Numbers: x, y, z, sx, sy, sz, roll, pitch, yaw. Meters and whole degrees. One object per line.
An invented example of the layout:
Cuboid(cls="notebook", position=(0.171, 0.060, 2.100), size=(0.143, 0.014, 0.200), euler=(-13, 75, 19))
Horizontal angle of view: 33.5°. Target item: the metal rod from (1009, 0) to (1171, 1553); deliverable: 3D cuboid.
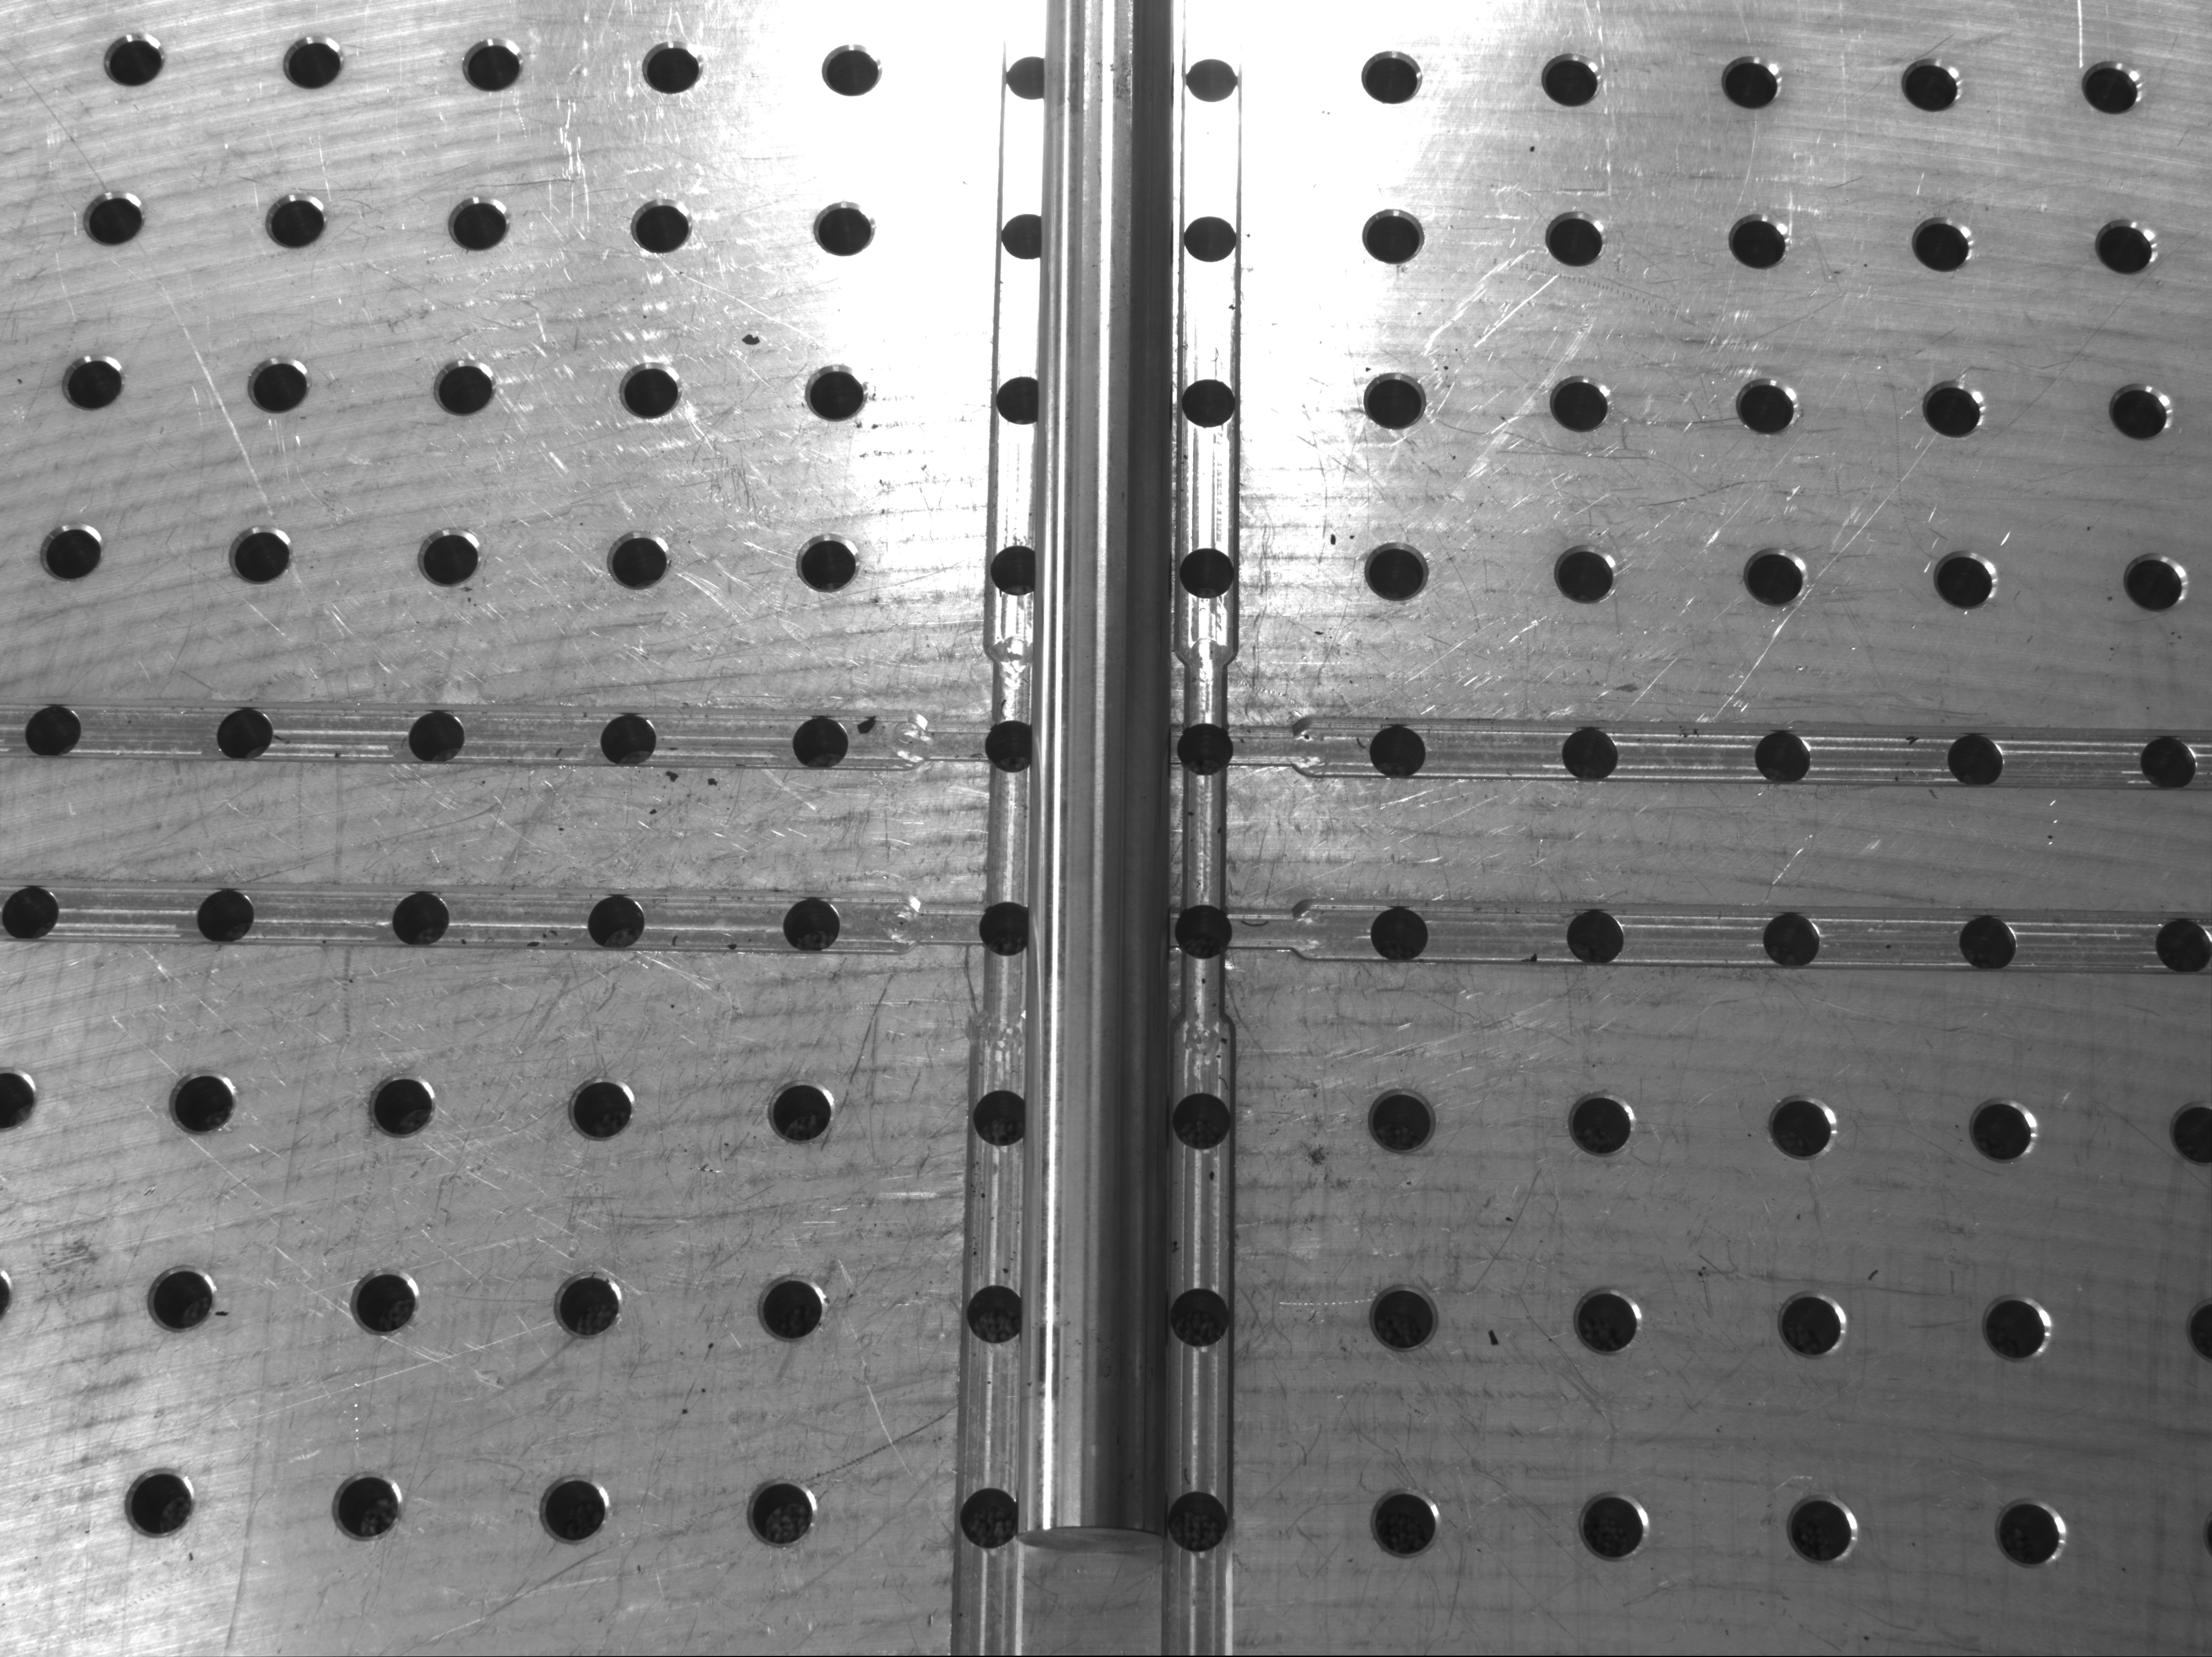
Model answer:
Cuboid(cls="metal rod", position=(-0.002, -0.023, 0.657), size=(0.025, 0.025, 0.300), euler=(1, 70, 0))
